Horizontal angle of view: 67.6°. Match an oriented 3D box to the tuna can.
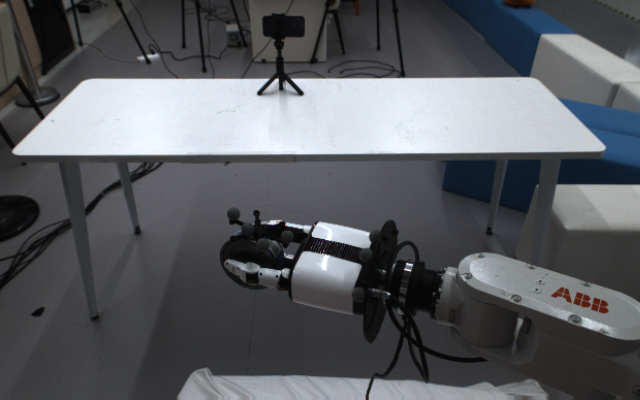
[{"bbox_3d":[-0.092,0.082,0.675,0.085,0.085,0.034,13,30,15],"label":"tuna can"}]
